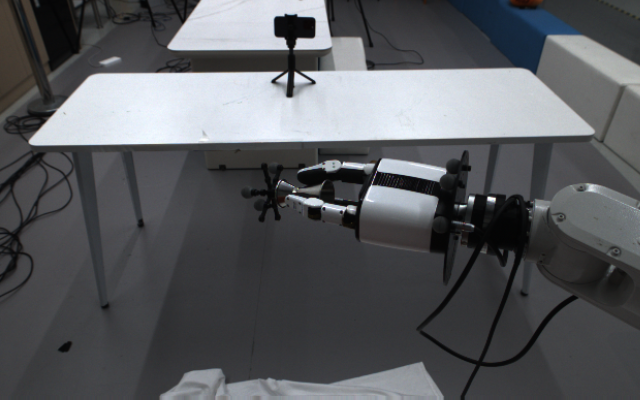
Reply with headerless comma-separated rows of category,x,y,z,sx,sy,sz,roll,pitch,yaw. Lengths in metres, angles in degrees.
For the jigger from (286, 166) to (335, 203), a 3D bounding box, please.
jigger,-0.013,-0.013,0.636,0.071,0.043,0.043,3,32,26
